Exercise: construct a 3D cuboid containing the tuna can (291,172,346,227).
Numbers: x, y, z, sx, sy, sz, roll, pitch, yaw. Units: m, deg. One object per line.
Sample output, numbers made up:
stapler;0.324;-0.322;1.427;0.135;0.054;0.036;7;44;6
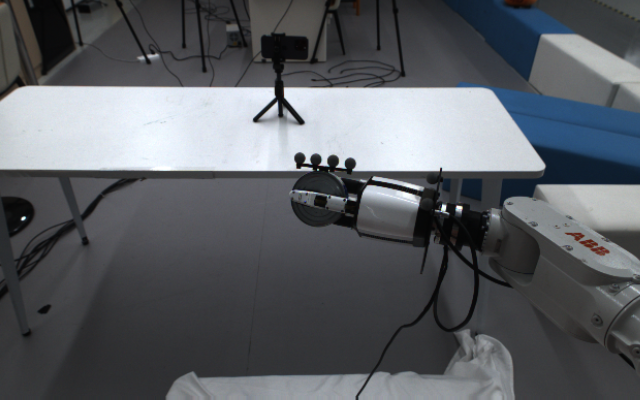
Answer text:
tuna can;0.000;-0.003;0.742;0.085;0.085;0.034;11;2;13
